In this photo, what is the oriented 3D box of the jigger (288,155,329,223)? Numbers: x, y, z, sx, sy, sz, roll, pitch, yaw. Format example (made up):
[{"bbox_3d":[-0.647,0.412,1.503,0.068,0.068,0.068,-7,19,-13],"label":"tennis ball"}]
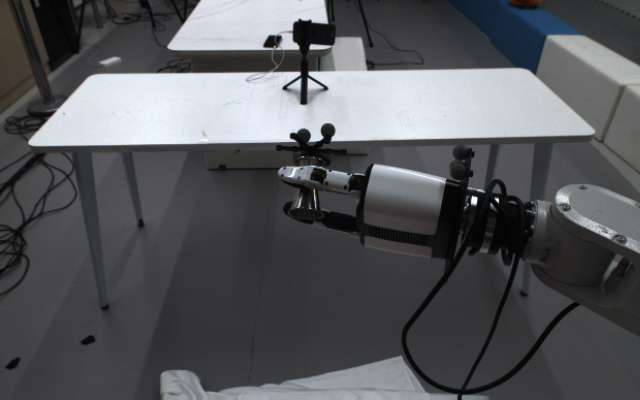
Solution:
[{"bbox_3d":[-0.016,-0.015,0.592,0.043,0.043,0.071,4,71,3],"label":"jigger"}]
